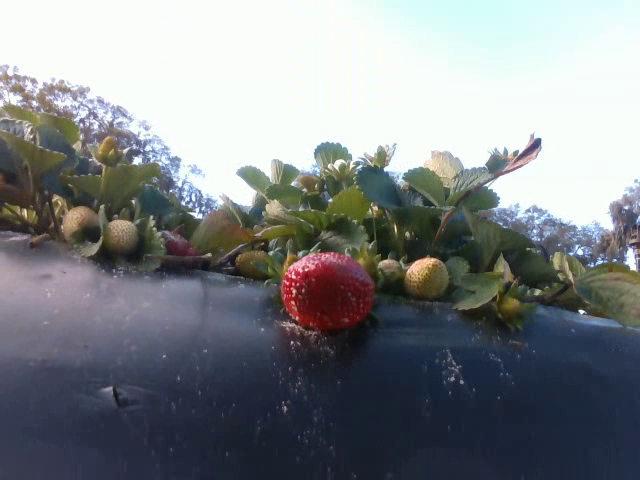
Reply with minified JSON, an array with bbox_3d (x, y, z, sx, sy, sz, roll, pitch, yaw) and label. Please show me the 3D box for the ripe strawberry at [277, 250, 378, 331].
[{"bbox_3d":[0.003,0.022,0.329,0.052,0.044,0.067,10,-15,1],"label":"ripe strawberry"}]
